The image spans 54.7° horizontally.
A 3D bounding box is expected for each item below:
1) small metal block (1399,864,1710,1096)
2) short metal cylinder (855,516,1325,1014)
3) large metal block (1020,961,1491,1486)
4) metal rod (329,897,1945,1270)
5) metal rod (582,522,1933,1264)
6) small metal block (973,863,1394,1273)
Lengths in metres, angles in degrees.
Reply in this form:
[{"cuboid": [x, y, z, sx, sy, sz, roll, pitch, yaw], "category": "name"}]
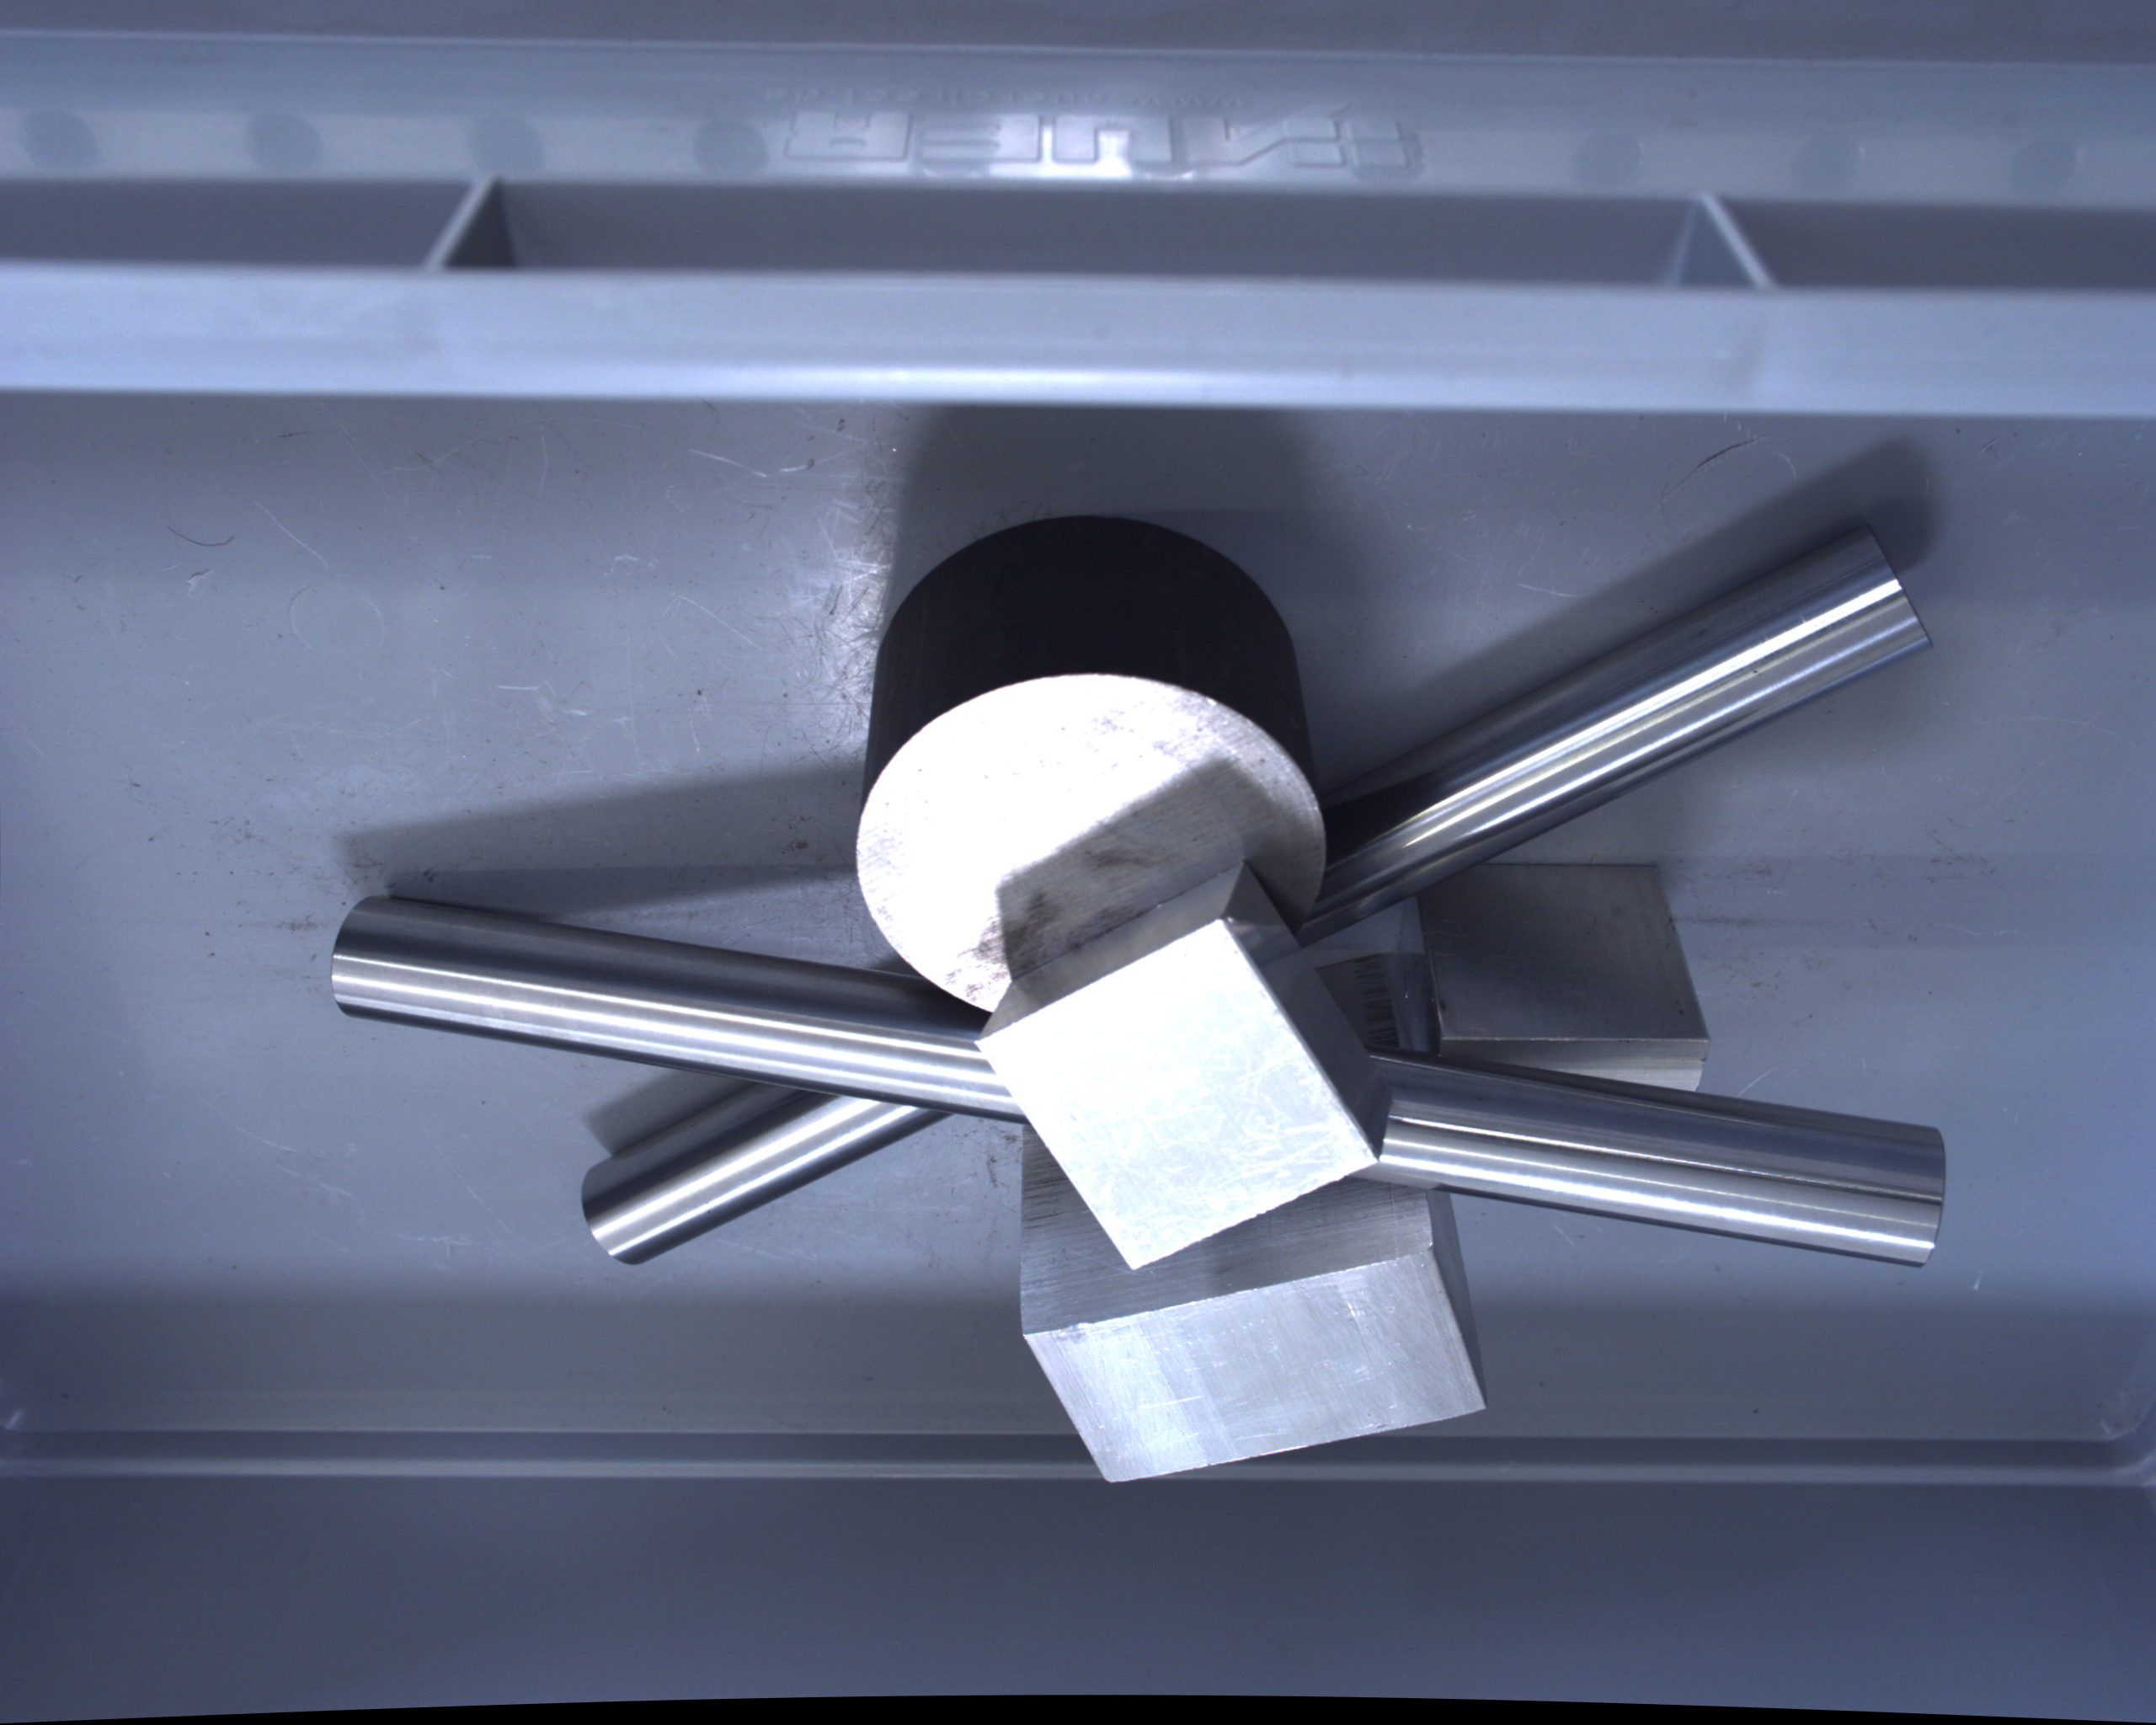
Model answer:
[{"cuboid": [0.092, 0.026, 0.414, 0.050, 0.050, 0.025, 1, 130, 0], "category": "small metal block"}, {"cuboid": [0.002, -0.015, 0.377, 0.081, 0.050, 0.079, 0, 129, 0], "category": "short metal cylinder"}, {"cuboid": [0.035, 0.074, 0.433, 0.080, 0.080, 0.050, -14, 129, 11], "category": "large metal block"}, {"cuboid": [0.003, 0.039, 0.394, 0.301, 0.025, 0.025, 8, 131, 10], "category": "metal rod"}, {"cuboid": [0.021, 0.015, 0.421, 0.300, 0.025, 0.025, -27, 125, 21], "category": "metal rod"}, {"cuboid": [0.019, 0.036, 0.361, 0.050, 0.025, 0.050, -28, 102, 22], "category": "small metal block"}]
